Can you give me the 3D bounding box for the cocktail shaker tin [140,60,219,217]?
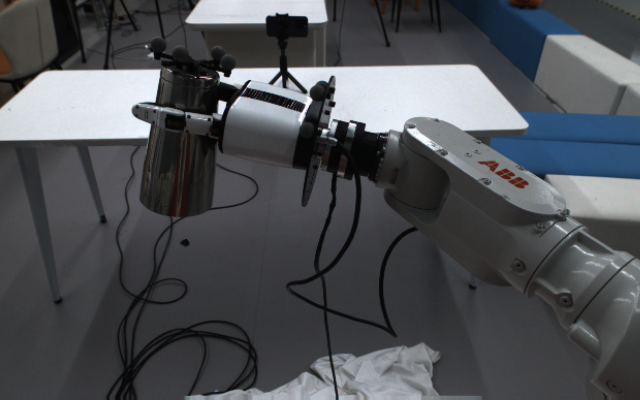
[{"bbox_3d":[-0.164,-0.077,0.594,0.093,0.170,0.093,12,26,-6],"label":"cocktail shaker tin"}]
